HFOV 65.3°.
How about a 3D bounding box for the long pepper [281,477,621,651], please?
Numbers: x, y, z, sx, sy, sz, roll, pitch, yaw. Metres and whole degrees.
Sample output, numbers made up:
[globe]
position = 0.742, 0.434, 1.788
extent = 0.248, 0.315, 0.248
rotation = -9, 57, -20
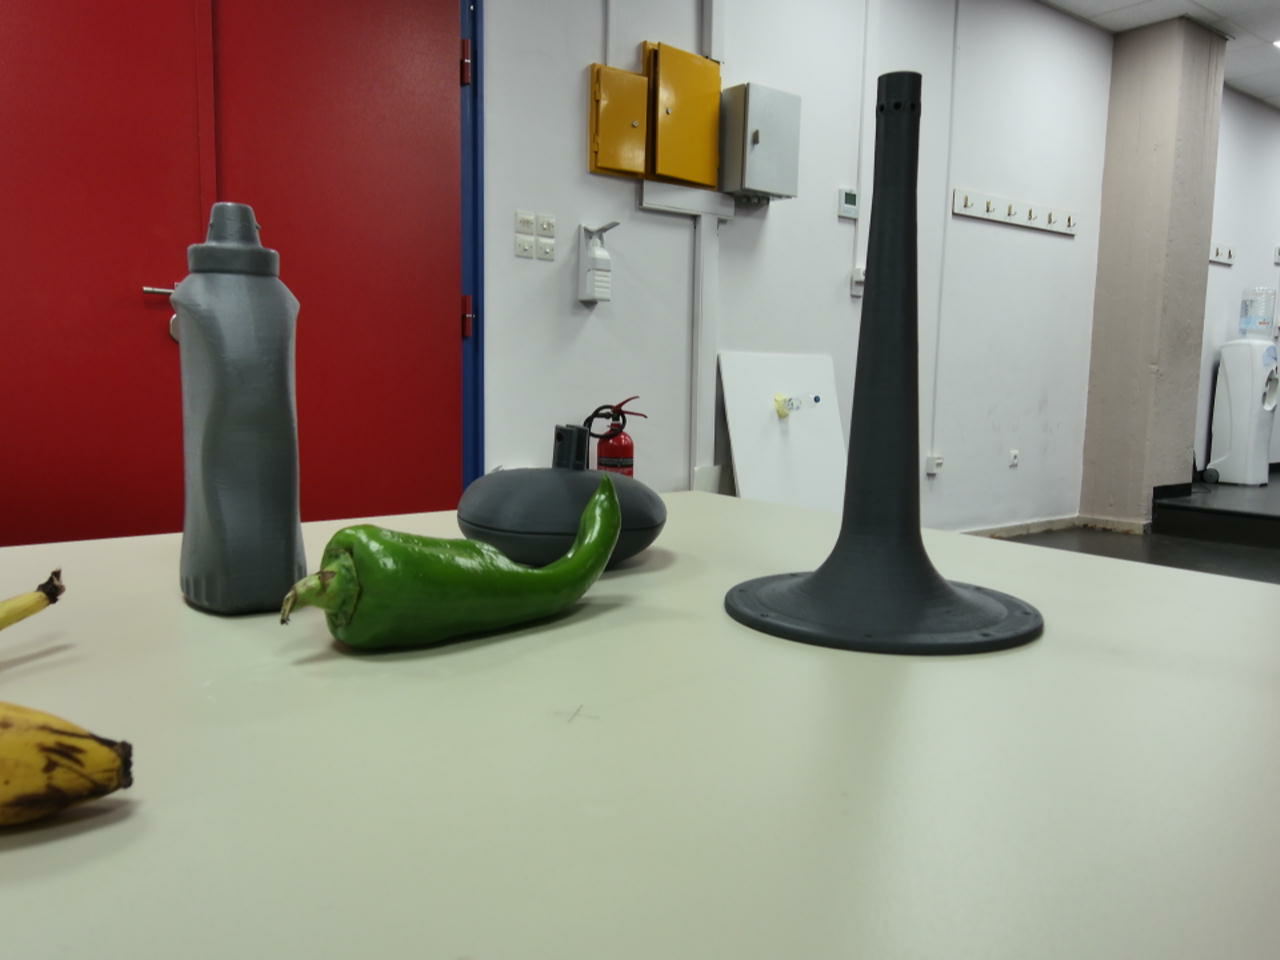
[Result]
[long pepper]
position = -0.073, 0.035, 0.443
extent = 0.175, 0.065, 0.058
rotation = -4, 5, -40
